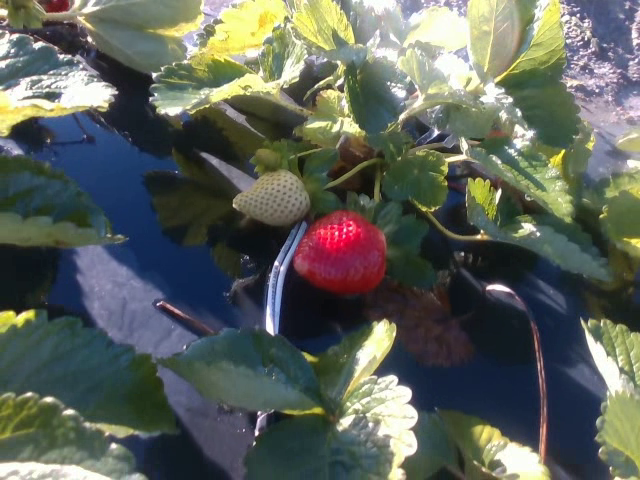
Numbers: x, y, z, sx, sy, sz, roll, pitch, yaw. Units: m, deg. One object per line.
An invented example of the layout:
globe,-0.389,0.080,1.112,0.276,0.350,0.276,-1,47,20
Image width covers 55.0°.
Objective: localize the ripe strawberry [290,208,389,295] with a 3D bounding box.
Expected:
ripe strawberry,0.016,0.005,0.330,0.040,0.062,0.080,-26,-9,38
